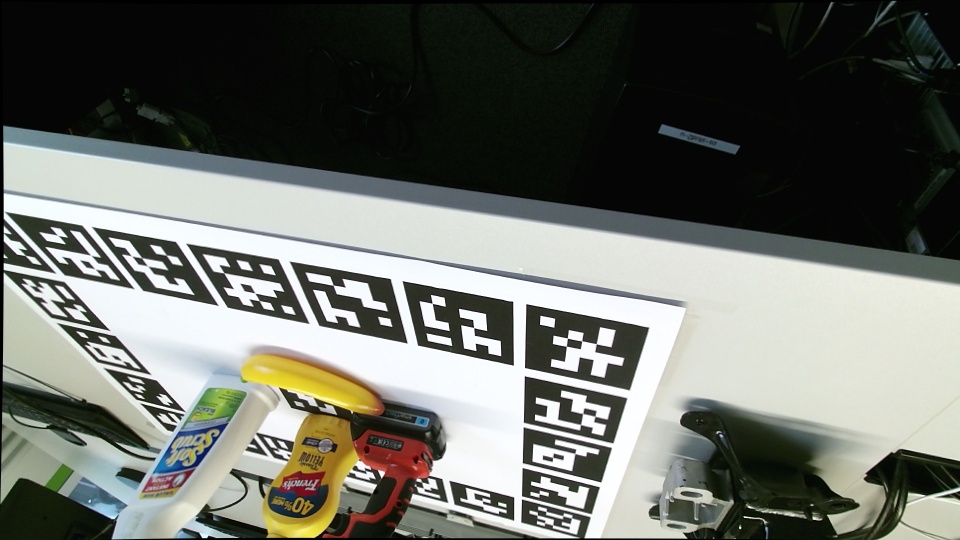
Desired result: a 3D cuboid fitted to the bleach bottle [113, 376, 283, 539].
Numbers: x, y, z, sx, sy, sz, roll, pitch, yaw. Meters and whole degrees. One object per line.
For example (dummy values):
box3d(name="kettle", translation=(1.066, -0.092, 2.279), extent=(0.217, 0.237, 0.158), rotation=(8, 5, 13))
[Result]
box3d(name="bleach bottle", translation=(-0.363, 0.254, 0.682), extent=(0.103, 0.250, 0.068), rotation=(3, 133, 19))

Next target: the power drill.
box3d(name="power drill", translation=(-0.139, 0.286, 0.630), extent=(0.185, 0.186, 0.057), rotation=(9, 142, 17))

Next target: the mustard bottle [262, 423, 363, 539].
box3d(name="mustard bottle", translation=(-0.229, 0.301, 0.708), extent=(0.096, 0.191, 0.058), rotation=(10, 136, 14))

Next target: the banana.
box3d(name="banana", translation=(-0.221, 0.148, 0.659), extent=(0.198, 0.039, 0.074), rotation=(10, 132, 9))
